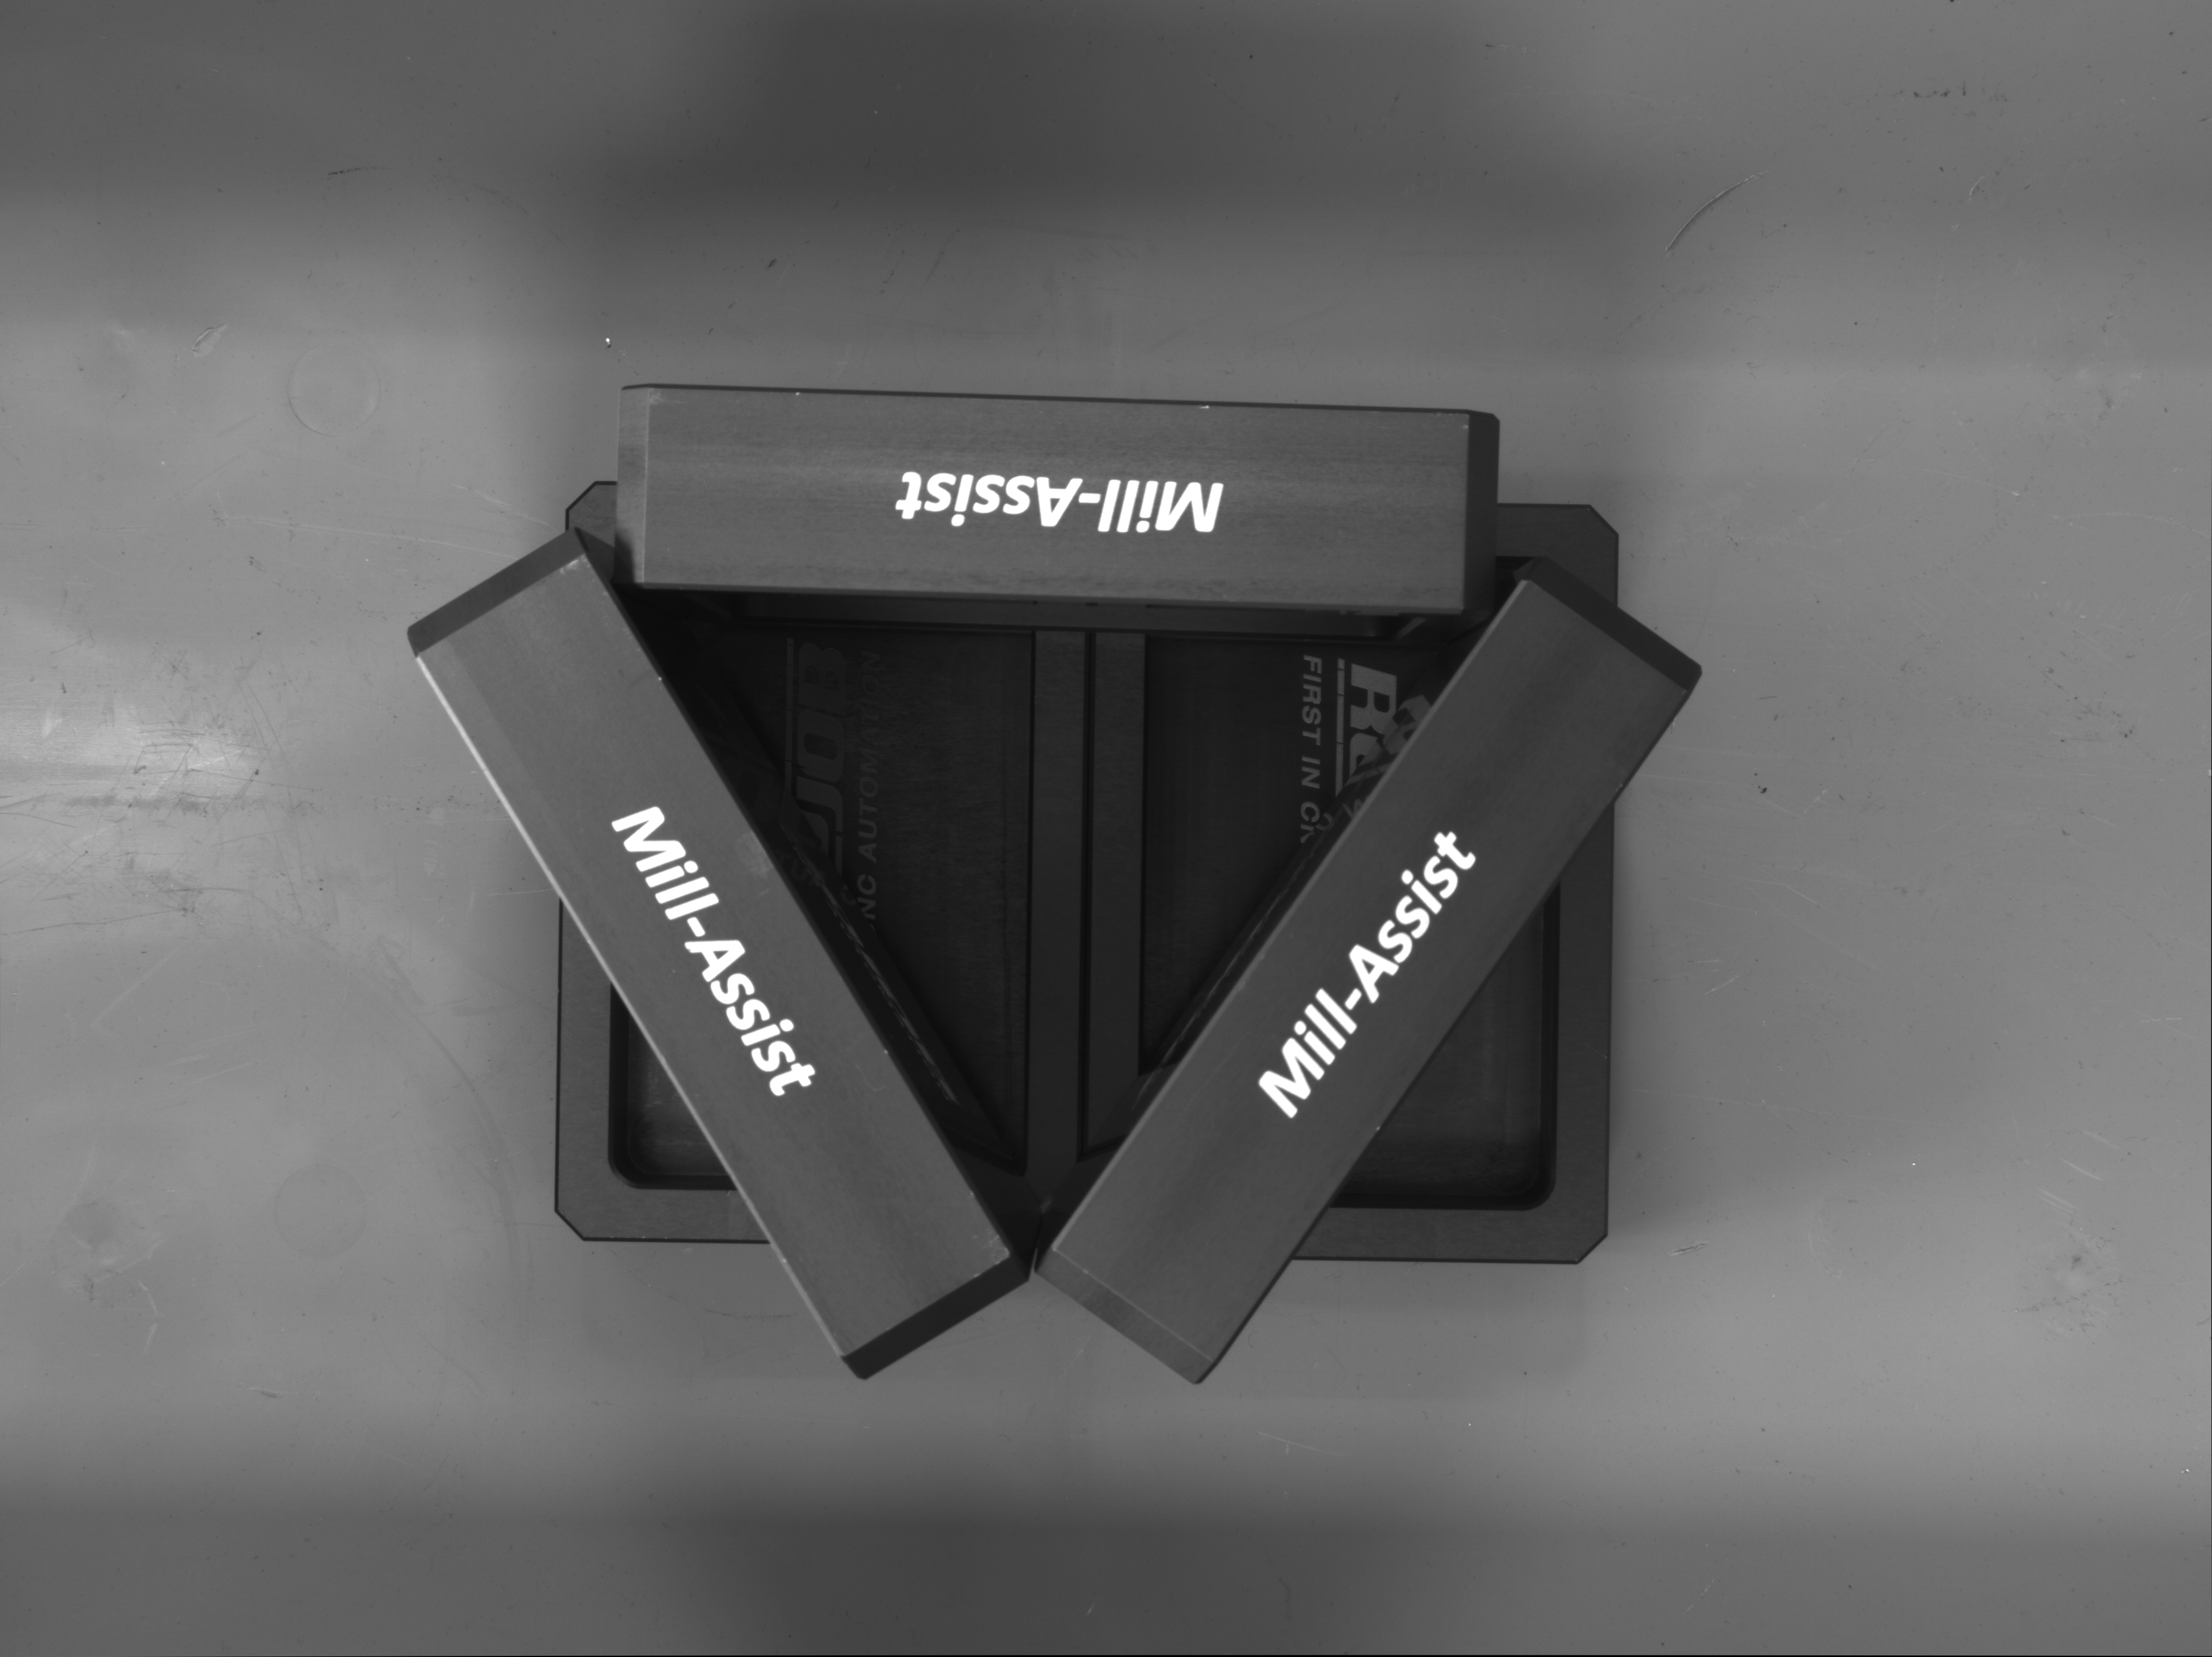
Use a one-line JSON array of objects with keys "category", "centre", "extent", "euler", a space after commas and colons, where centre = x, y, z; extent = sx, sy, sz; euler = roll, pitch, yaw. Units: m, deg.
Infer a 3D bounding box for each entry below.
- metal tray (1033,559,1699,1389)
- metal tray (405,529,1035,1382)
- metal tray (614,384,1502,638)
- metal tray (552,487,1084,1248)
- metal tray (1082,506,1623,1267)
[{"category": "metal tray", "centre": [0.039, 0.021, 0.581], "extent": [0.030, 0.090, 0.130], "euler": [35, 90, 0]}, {"category": "metal tray", "centre": [-0.057, 0.019, 0.581], "extent": [0.030, 0.090, 0.130], "euler": [-31, 90, 1]}, {"category": "metal tray", "centre": [-0.007, -0.048, 0.581], "extent": [0.130, 0.090, 0.030], "euler": [2, 90, 0]}, {"category": "metal tray", "centre": [-0.049, 0.007, 0.643], "extent": [0.090, 0.030, 0.130], "euler": [0, 89, 0]}, {"category": "metal tray", "centre": [0.042, 0.009, 0.642], "extent": [0.090, 0.030, 0.130], "euler": [1, 89, 0]}]
